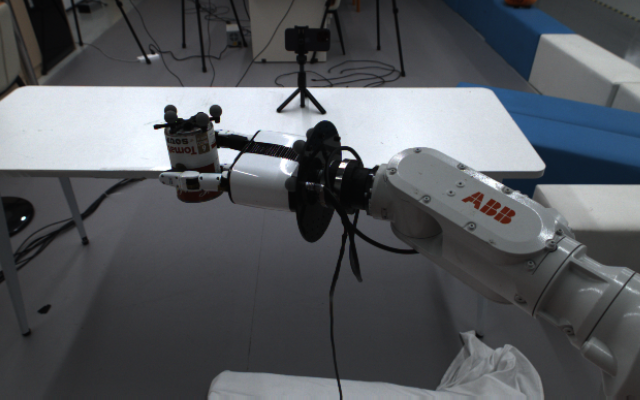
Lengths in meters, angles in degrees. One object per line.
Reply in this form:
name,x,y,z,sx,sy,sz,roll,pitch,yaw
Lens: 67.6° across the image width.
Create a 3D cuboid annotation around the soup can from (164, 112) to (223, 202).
soup can,-0.176,-0.054,0.683,0.067,0.101,0.067,-4,26,2
